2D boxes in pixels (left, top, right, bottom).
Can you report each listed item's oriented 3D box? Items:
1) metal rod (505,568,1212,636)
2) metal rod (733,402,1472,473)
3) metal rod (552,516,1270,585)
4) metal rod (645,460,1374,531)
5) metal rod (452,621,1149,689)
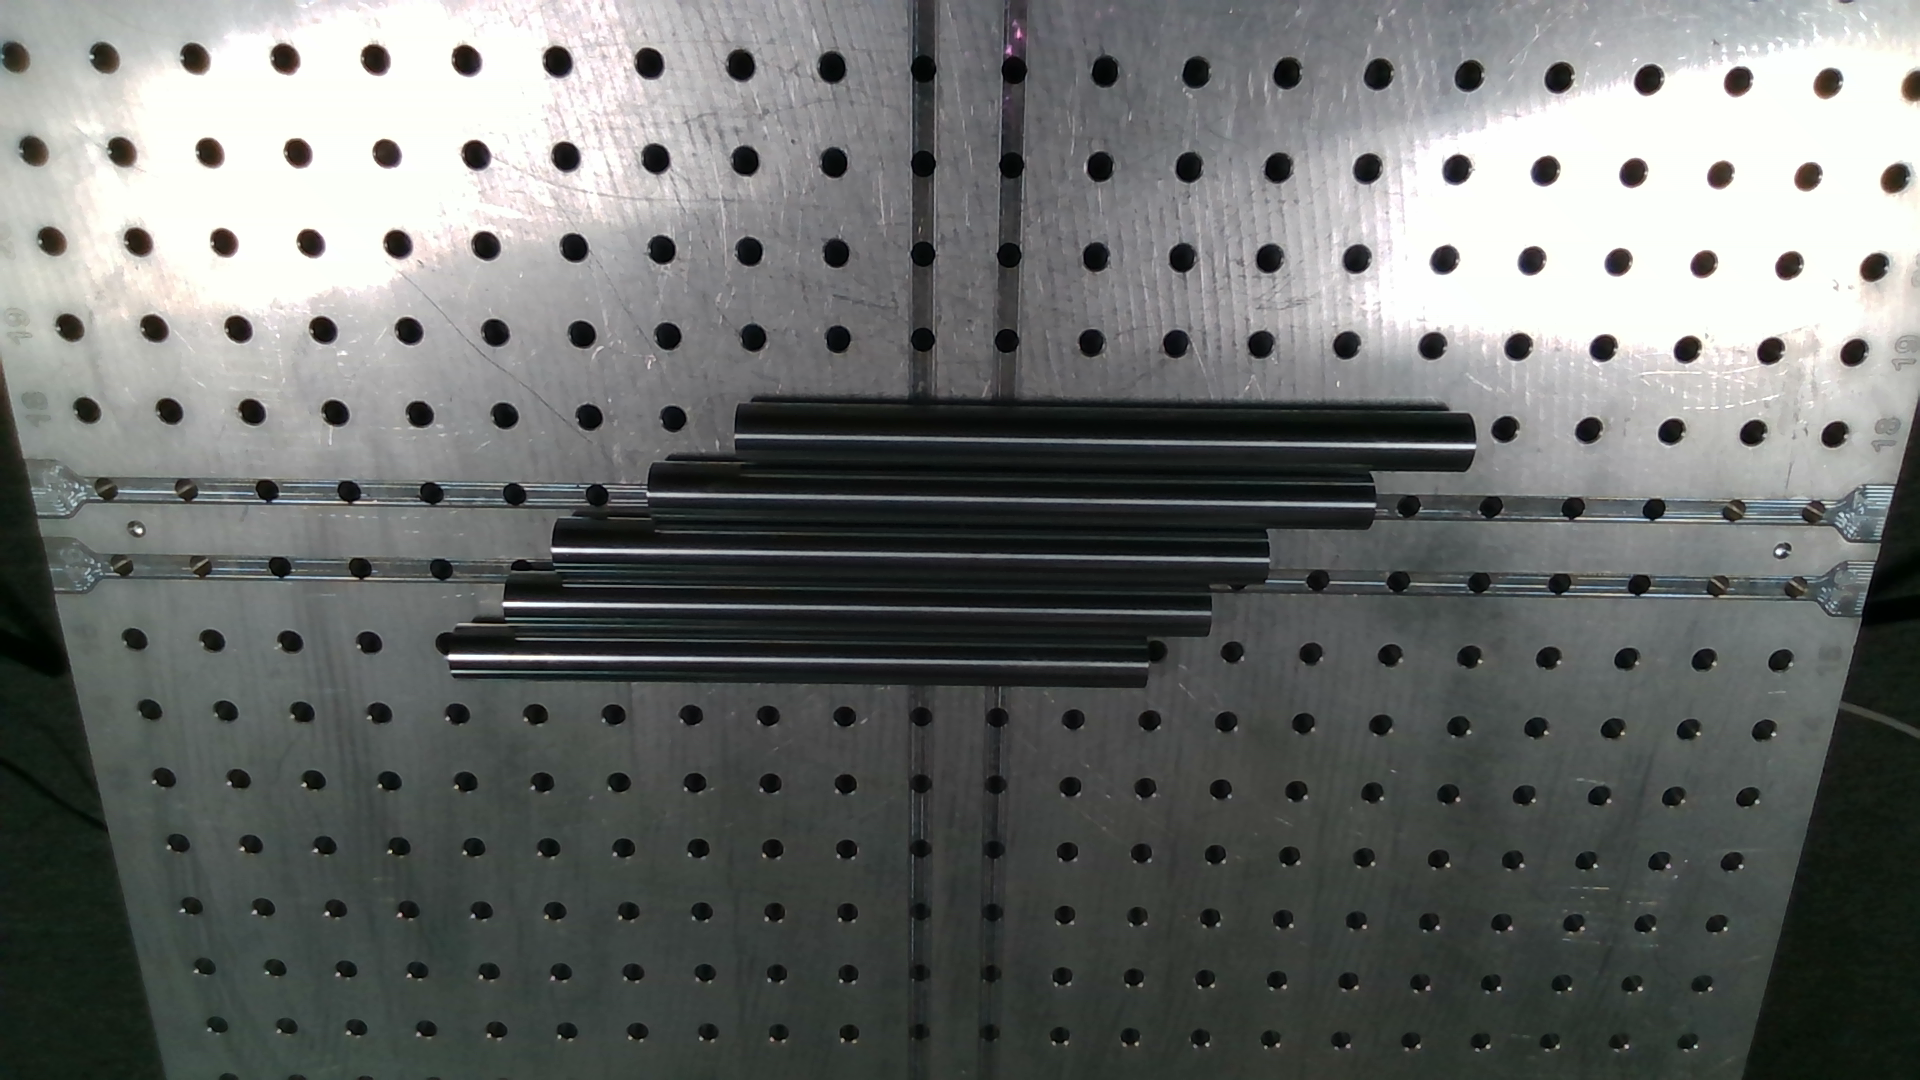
[{"bbox_3d":[-0.043,0.027,0.596,0.300,0.025,0.025,1,110,0],"label":"metal rod"},{"bbox_3d":[0.058,-0.043,0.571,0.300,0.025,0.025,1,110,0],"label":"metal rod"},{"bbox_3d":[-0.020,0.004,0.588,0.300,0.025,0.025,1,110,0],"label":"metal rod"},{"bbox_3d":[0.021,-0.019,0.579,0.300,0.025,0.025,1,110,0],"label":"metal rod"},{"bbox_3d":[-0.068,0.051,0.605,0.300,0.025,0.025,1,110,0],"label":"metal rod"}]
